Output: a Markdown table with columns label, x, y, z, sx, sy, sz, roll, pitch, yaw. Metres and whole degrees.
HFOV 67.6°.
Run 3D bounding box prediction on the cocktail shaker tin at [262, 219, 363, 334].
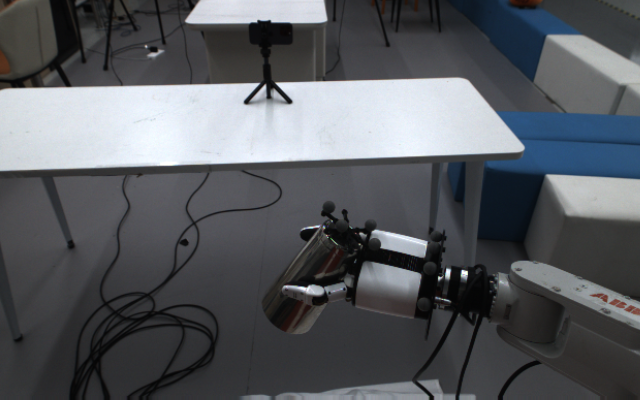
| label | x | y | z | sx | sy | sz | roll | pitch | yaw |
| --- | --- | --- | --- | --- | --- | --- | --- | --- | --- |
| cocktail shaker tin | -0.008 | 0.104 | 0.713 | 0.093 | 0.170 | 0.093 | 26 | 32 | -18 |
